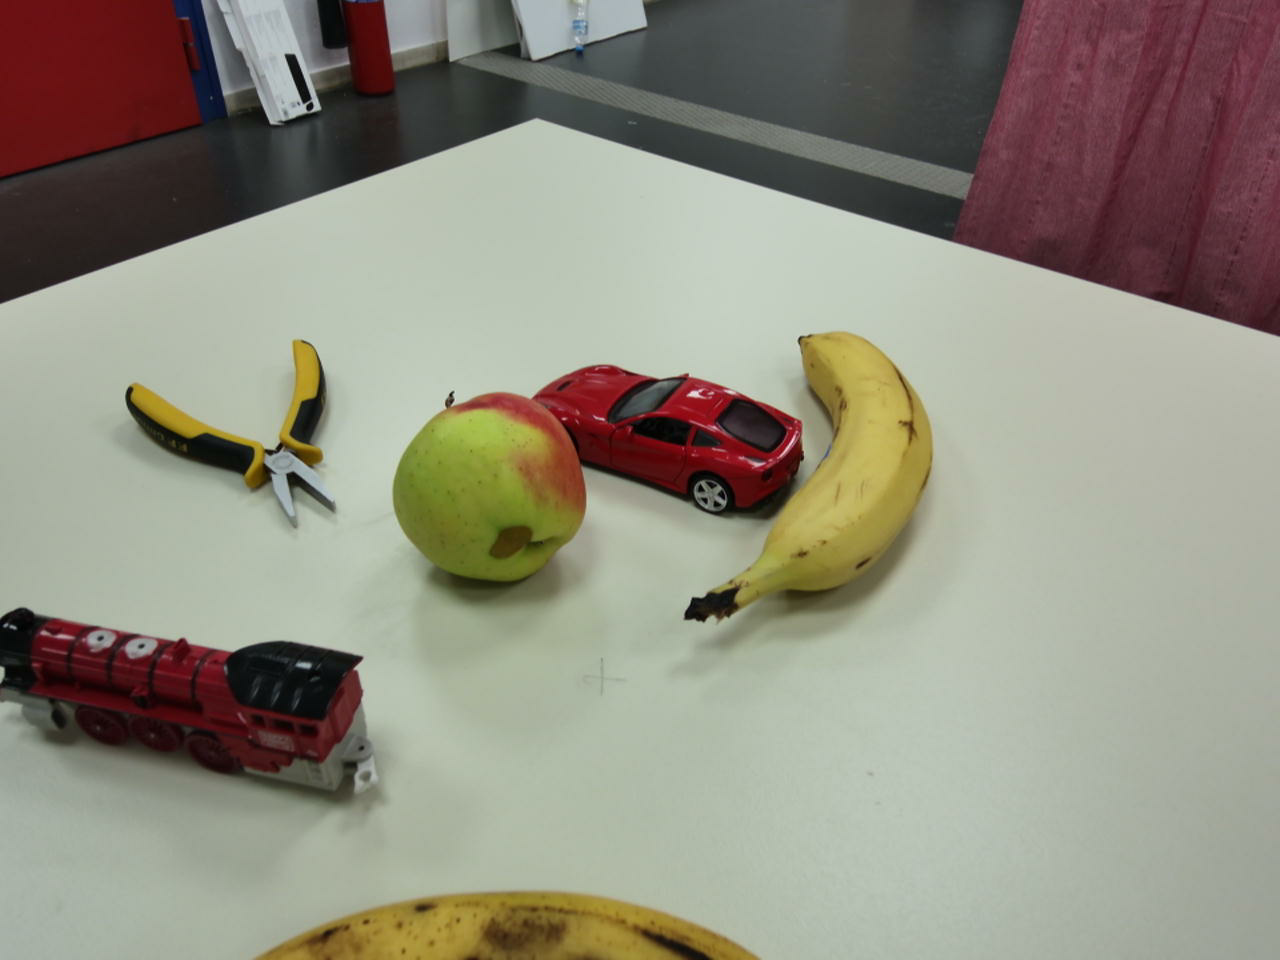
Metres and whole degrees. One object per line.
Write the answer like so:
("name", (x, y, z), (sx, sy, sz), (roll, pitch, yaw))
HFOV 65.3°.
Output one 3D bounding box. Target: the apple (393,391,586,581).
("apple", (-0.059, 0.002, 0.405), (0.075, 0.074, 0.075), (12, 37, 15))
